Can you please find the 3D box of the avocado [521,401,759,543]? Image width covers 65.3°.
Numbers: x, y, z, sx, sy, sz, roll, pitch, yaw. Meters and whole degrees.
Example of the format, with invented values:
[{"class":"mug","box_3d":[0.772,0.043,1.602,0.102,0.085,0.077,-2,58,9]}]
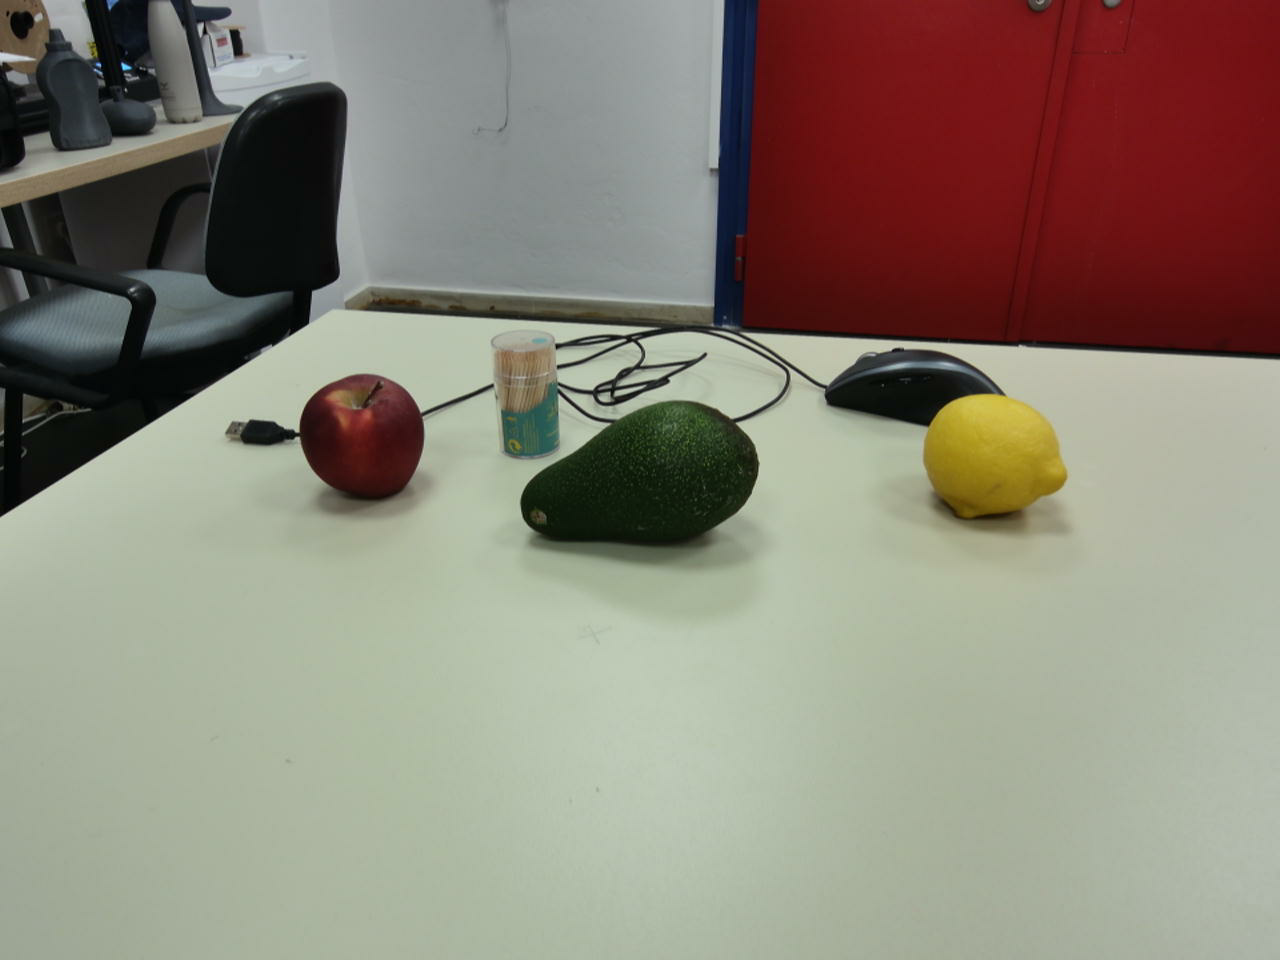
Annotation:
[{"class":"avocado","box_3d":[0.002,-0.007,0.533,0.123,0.076,0.074,8,26,17]}]
